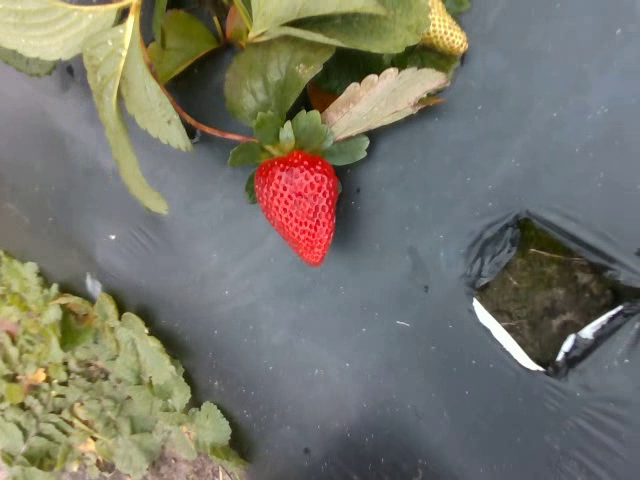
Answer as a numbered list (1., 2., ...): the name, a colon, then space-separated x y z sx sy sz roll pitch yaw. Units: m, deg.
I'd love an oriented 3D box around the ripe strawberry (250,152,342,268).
1. ripe strawberry: -0.011 -0.014 0.290 0.048 0.064 0.046 -6 -17 -17
